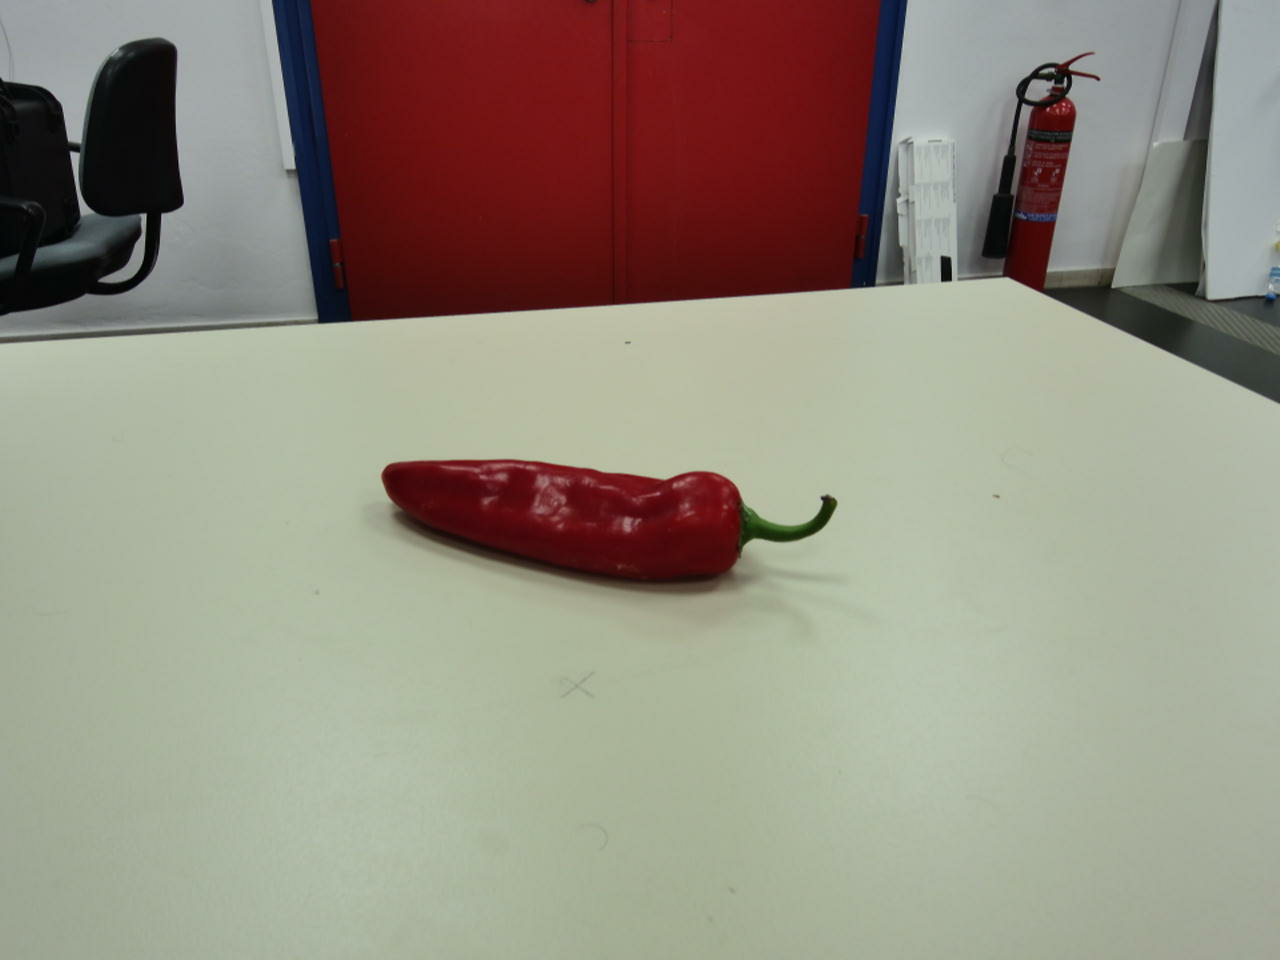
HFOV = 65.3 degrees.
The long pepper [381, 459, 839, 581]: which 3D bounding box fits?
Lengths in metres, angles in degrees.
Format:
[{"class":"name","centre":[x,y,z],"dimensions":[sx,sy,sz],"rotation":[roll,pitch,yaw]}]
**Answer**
[{"class":"long pepper","centre":[-0.024,0.013,0.430],"dimensions":[0.211,0.043,0.050],"rotation":[8,25,17]}]
